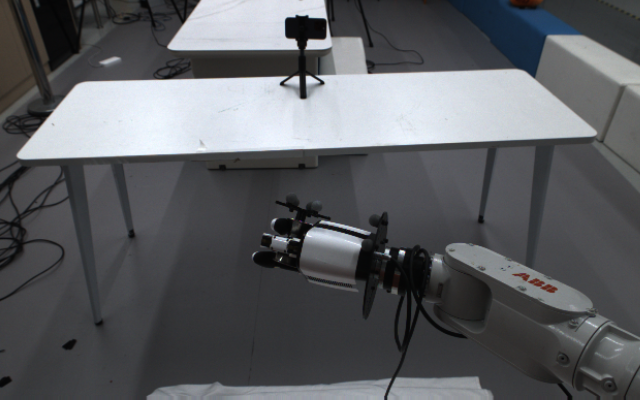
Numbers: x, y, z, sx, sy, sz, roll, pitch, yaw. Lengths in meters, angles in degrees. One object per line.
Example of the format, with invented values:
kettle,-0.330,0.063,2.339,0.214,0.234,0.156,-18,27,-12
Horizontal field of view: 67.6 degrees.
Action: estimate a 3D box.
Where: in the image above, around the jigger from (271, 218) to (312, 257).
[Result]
jigger,-0.041,0.063,0.735,0.043,0.071,0.043,19,-6,2
